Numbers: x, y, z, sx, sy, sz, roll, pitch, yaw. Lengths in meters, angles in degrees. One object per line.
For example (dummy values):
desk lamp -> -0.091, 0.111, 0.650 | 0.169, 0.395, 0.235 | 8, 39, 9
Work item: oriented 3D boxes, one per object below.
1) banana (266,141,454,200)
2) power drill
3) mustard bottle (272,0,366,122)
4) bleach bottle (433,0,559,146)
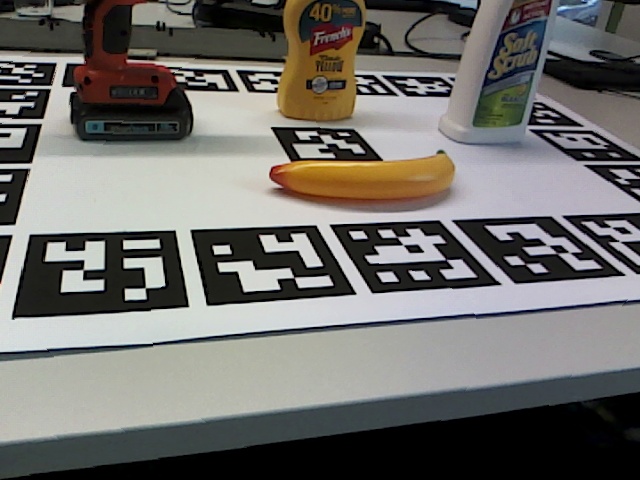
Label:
banana -> 0.050, -0.064, 0.575 | 0.196, 0.039, 0.075 | -8, 37, -20
power drill -> -0.160, -0.228, 0.604 | 0.184, 0.186, 0.058 | -9, 36, -19
mustard bottle -> 0.003, -0.235, 0.713 | 0.096, 0.191, 0.059 | -5, 34, -25
bleach bottle -> 0.207, -0.234, 0.700 | 0.102, 0.250, 0.068 | 3, 32, -10
